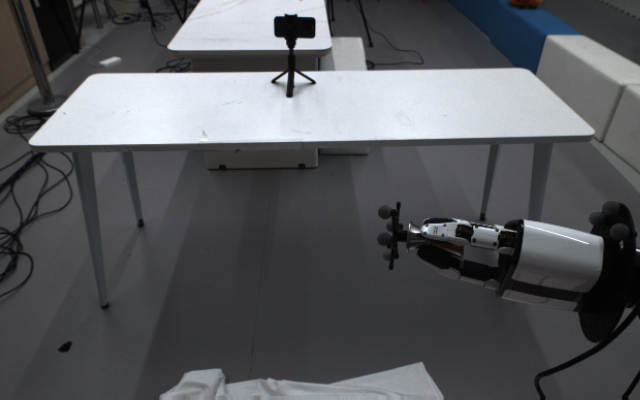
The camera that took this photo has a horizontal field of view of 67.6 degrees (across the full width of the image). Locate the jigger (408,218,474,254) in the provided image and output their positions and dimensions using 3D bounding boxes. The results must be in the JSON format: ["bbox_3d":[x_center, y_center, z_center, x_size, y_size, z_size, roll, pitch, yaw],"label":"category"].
[{"bbox_3d":[0.152,0.045,0.605,0.071,0.043,0.043,4,34,17],"label":"jigger"}]
